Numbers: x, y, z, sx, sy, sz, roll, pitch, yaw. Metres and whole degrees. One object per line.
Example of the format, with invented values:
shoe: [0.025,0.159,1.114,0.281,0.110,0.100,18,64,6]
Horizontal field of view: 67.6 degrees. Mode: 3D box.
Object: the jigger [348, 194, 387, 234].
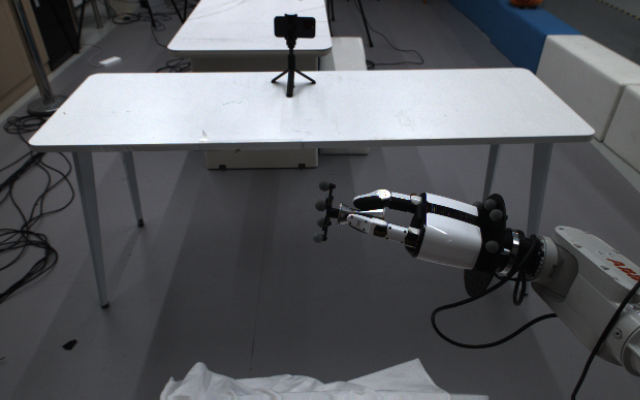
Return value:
jigger: [0.069,0.023,0.737,0.071,0.043,0.043,8,35,5]
